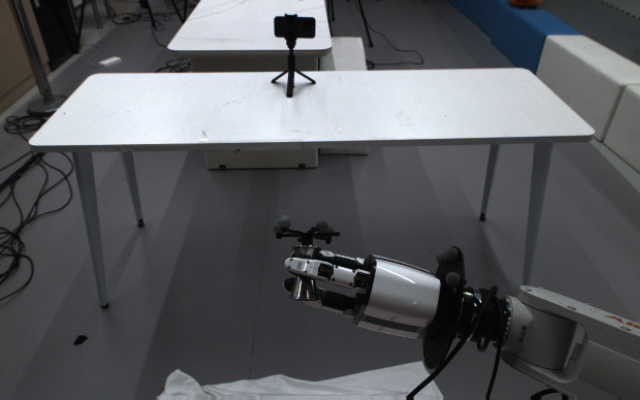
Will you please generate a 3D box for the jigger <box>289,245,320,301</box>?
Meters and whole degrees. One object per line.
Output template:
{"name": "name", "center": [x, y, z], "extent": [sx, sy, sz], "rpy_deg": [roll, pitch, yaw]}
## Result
{"name": "jigger", "center": [-0.019, 0.095, 0.627], "extent": [0.043, 0.043, 0.071], "rpy_deg": [3, 76, 1]}
